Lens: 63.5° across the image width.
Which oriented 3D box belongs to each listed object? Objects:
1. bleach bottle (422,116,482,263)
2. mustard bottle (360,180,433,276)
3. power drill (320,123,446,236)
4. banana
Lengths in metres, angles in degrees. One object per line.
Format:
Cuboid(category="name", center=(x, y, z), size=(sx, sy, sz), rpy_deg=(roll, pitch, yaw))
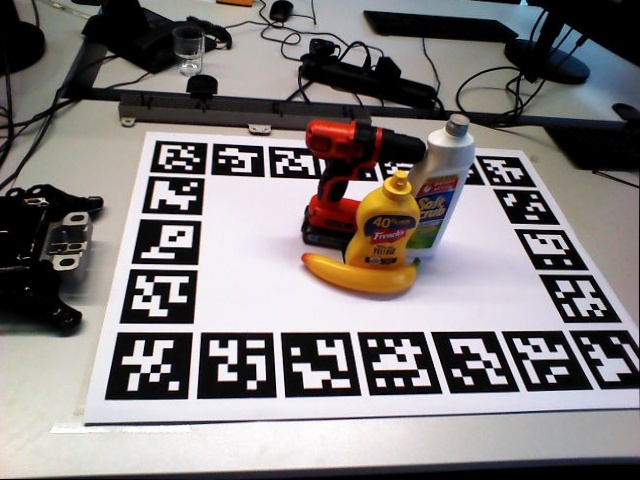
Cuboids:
Cuboid(category="bleach bottle", center=(0.192, -0.076, 0.805), size=(0.103, 0.252, 0.067), rpy_deg=(4, 40, -6))
Cuboid(category="mustard bottle", center=(0.124, -0.021, 0.772), size=(0.096, 0.192, 0.058), rpy_deg=(3, 46, -9))
Cuboid(category="power drill", center=(0.081, -0.087, 0.801), size=(0.185, 0.188, 0.057), rpy_deg=(12, 44, -1))
Cuboid(category="banana", center=(0.094, 0.059, 0.811), size=(0.197, 0.039, 0.074), rpy_deg=(4, 47, -3))
